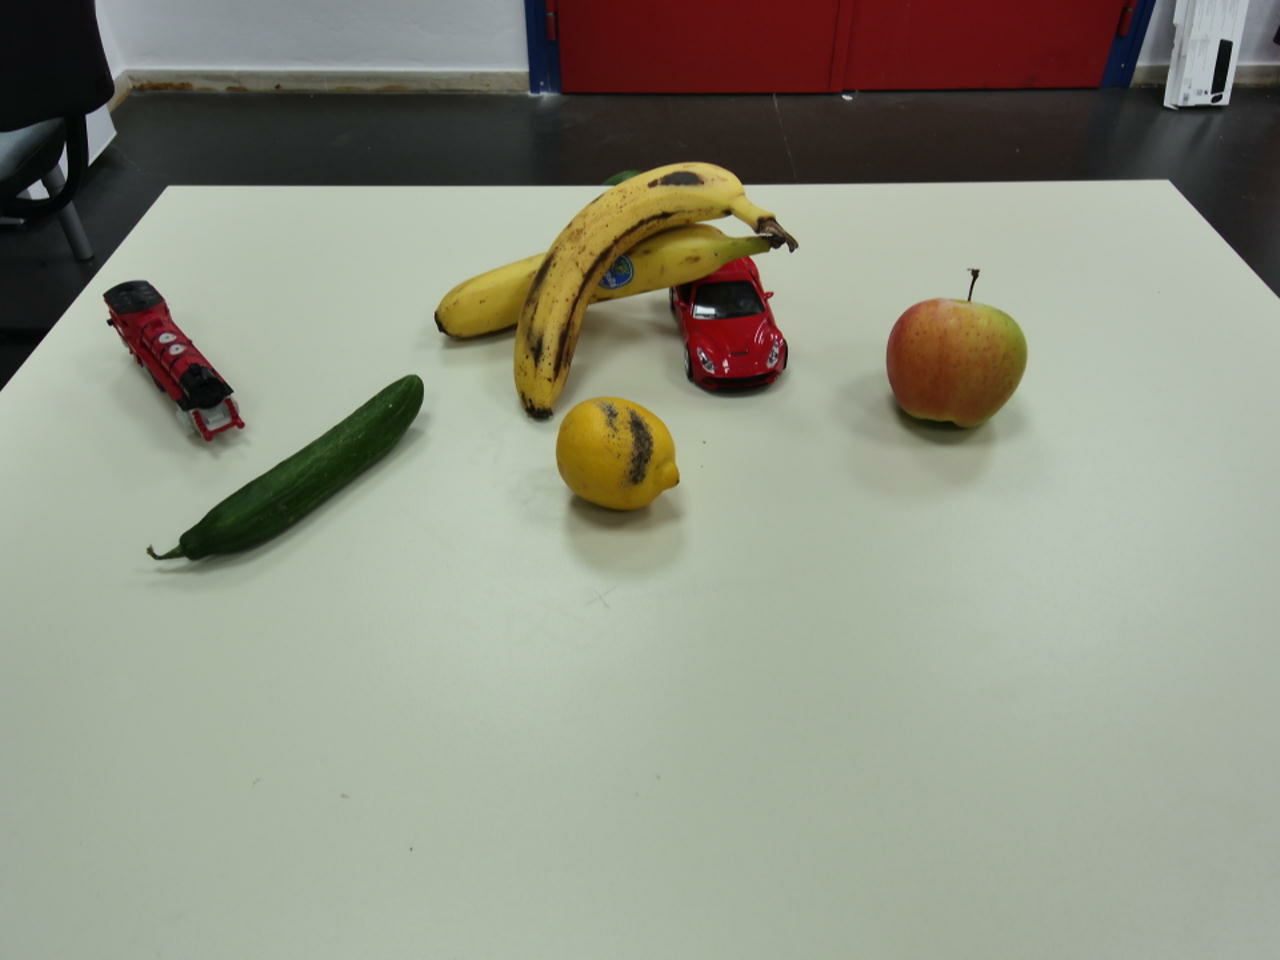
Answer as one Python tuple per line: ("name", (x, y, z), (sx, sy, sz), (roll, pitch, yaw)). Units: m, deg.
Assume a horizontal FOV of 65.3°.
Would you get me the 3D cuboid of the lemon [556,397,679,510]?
("lemon", (-0.013, -0.014, 0.514), (0.061, 0.056, 0.058), (-6, 39, -6))
